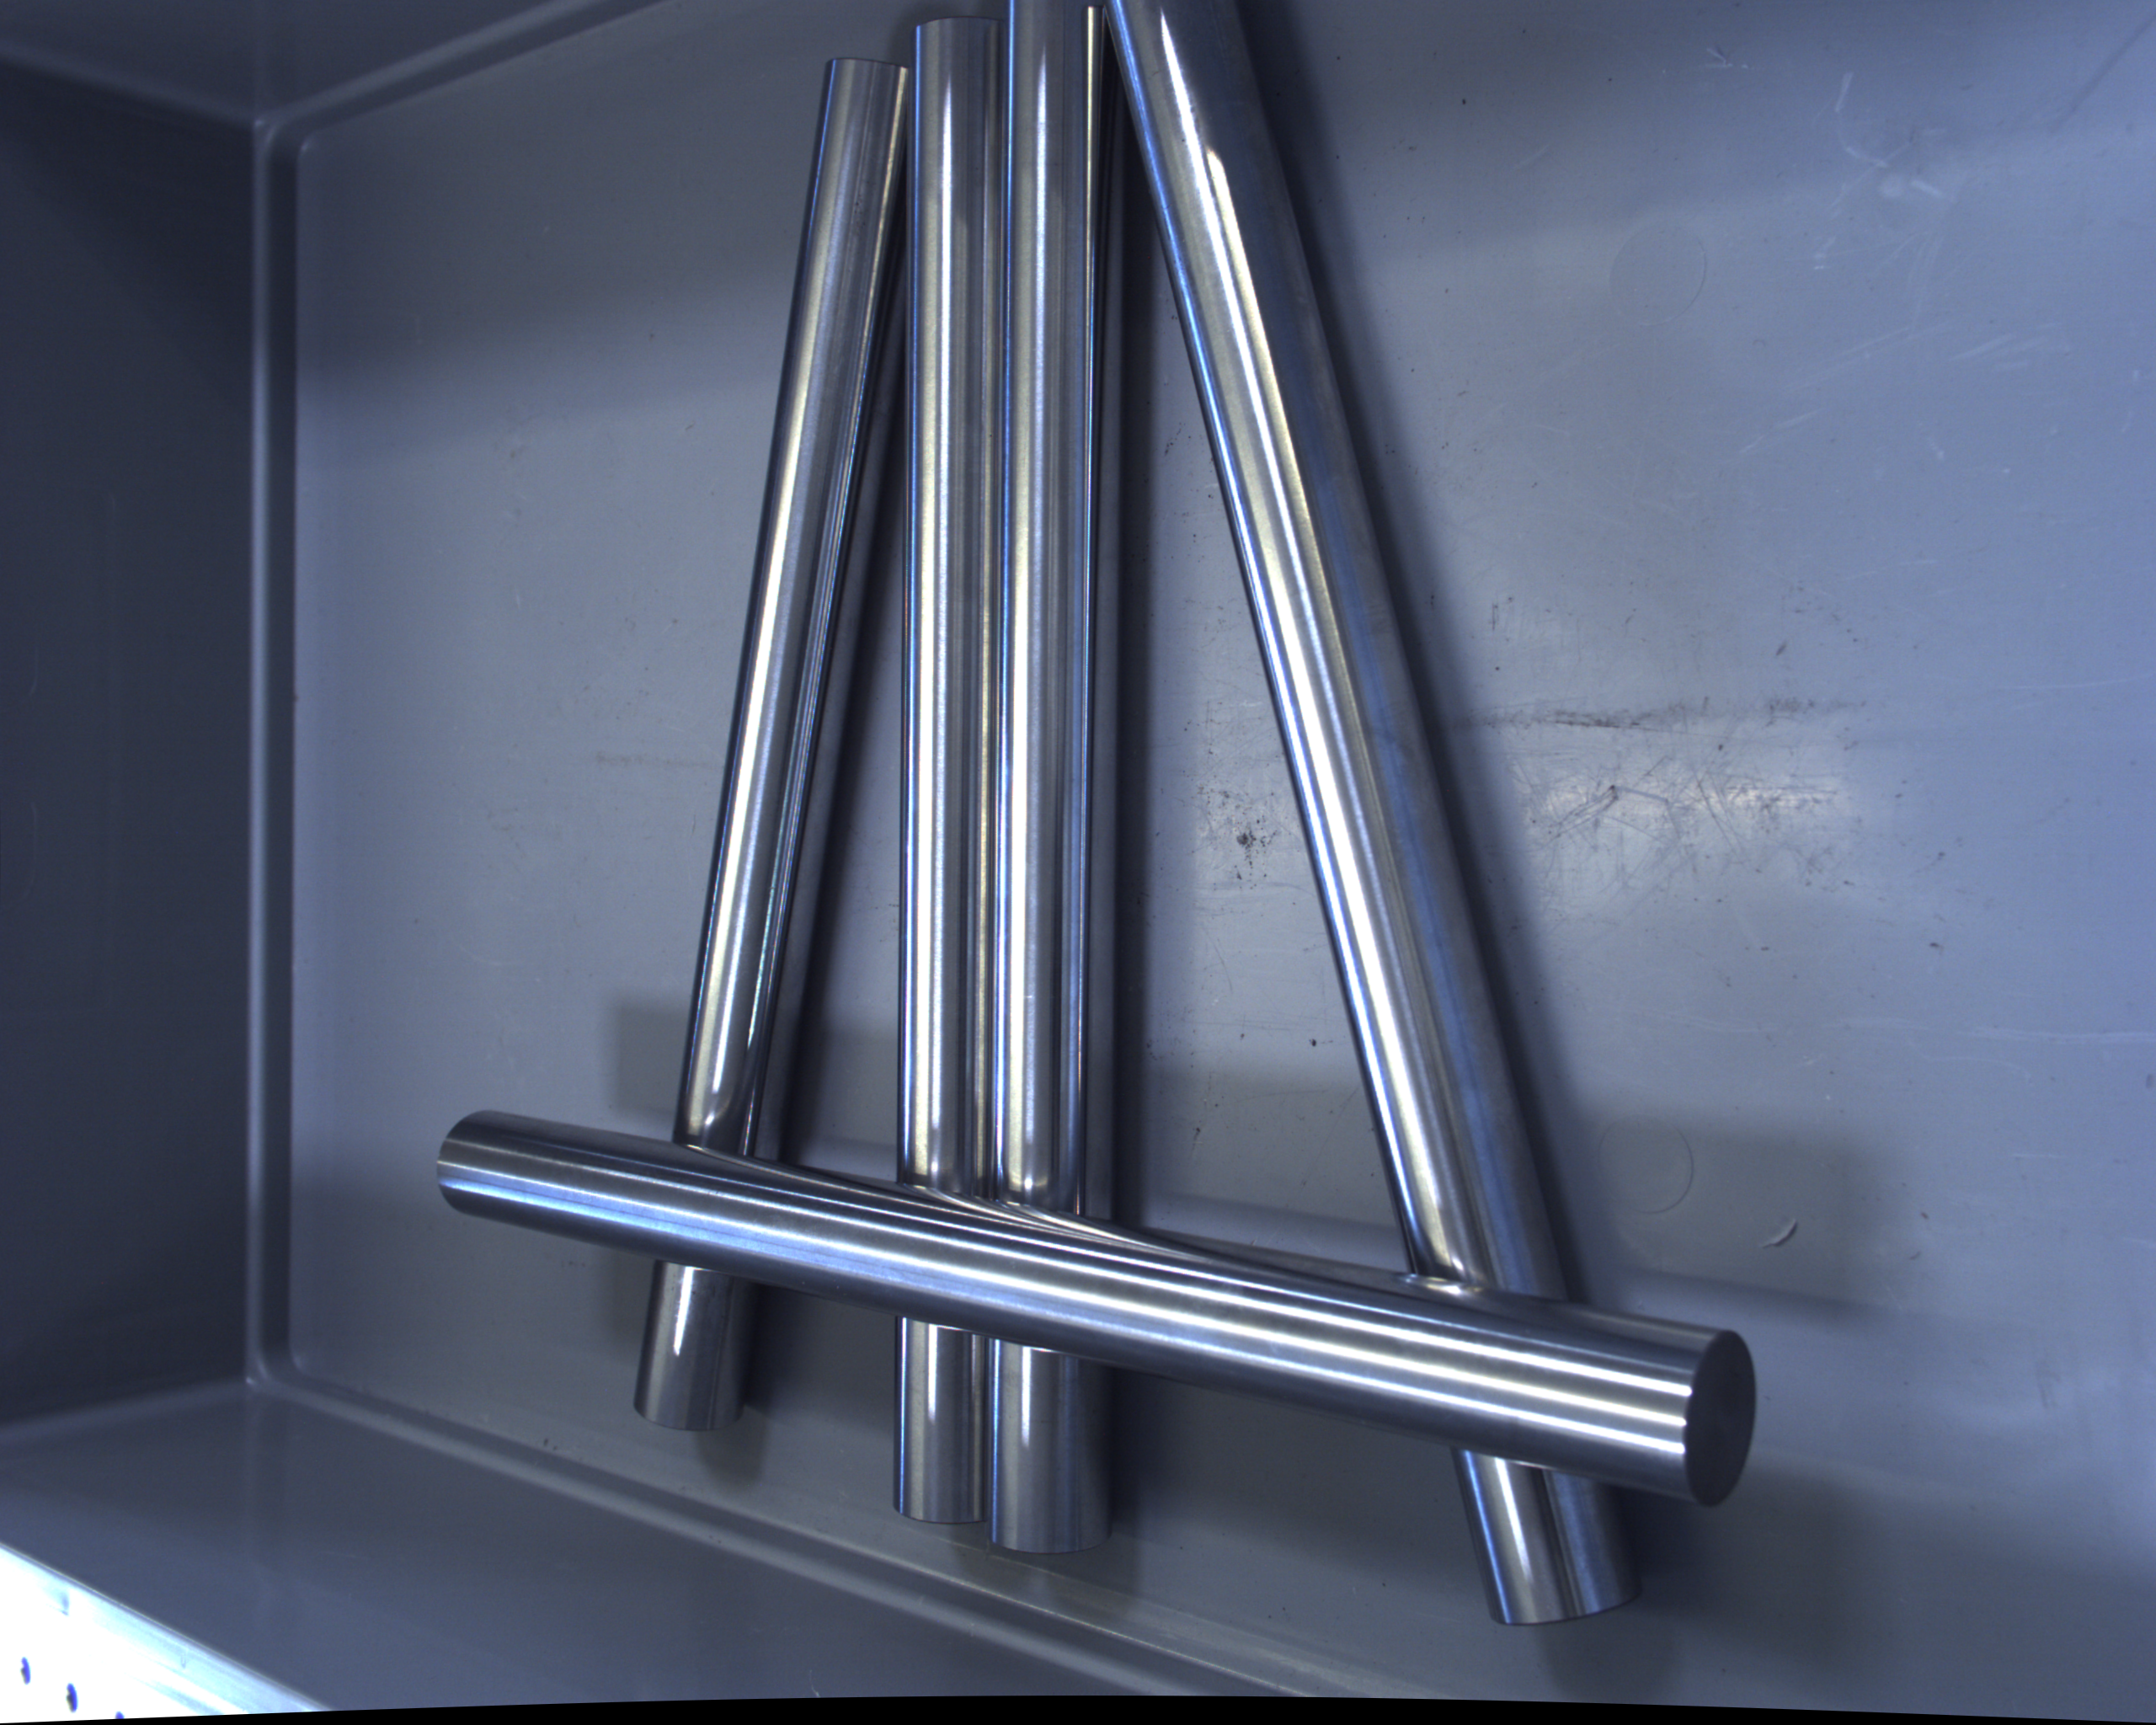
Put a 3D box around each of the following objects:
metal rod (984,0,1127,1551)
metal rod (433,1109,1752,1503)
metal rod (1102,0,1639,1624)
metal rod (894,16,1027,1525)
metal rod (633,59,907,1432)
[{"bbox_3d":[-0.004,-0.018,0.409,0.025,0.025,0.298,1,91,40],"label":"metal rod"},{"bbox_3d":[-0.025,0.074,0.392,0.300,0.025,0.025,2,91,40],"label":"metal rod"},{"bbox_3d":[0.048,-0.023,0.366,0.025,0.025,0.299,-20,77,38],"label":"metal rod"},{"bbox_3d":[-0.023,-0.018,0.425,0.025,0.025,0.298,1,91,40],"label":"metal rod"},{"bbox_3d":[-0.065,-0.020,0.460,0.025,0.025,0.298,16,100,39],"label":"metal rod"}]
